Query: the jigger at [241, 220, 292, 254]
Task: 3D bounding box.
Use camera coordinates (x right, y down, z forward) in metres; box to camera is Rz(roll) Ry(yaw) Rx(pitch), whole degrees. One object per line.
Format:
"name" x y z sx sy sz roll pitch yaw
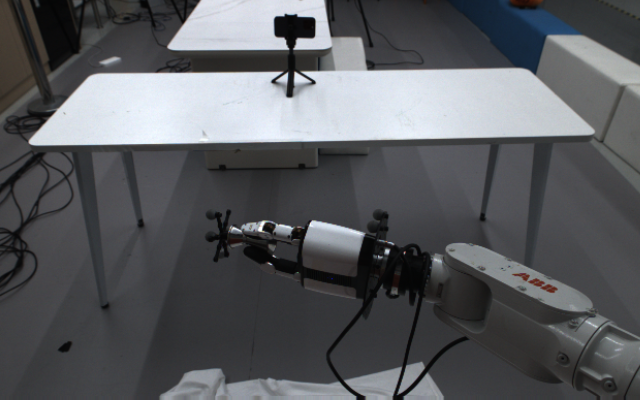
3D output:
"jigger" -0.099 0.057 0.761 0.071 0.043 0.043 4 34 12
